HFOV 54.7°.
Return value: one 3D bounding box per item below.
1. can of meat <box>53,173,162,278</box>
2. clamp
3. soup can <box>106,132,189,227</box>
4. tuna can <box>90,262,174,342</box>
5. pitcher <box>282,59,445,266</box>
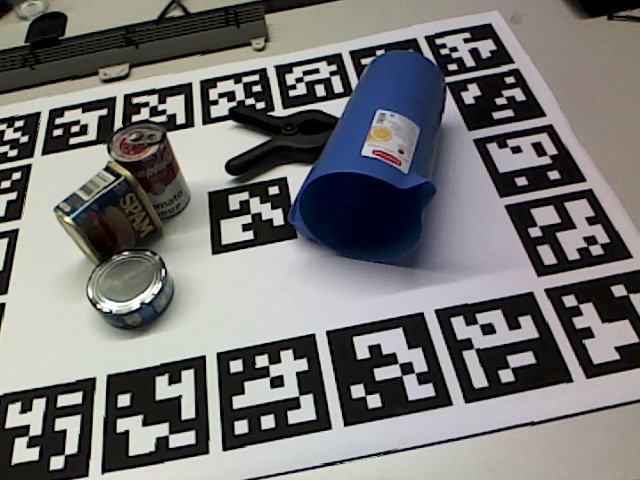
[{"bbox_3d":[-0.243,-0.012,0.710,0.058,0.101,0.083,36,69,28],"label":"can of meat"},{"bbox_3d":[-0.060,-0.123,0.825,0.165,0.036,0.122,-8,48,-2],"label":"clamp"},{"bbox_3d":[-0.208,-0.072,0.756,0.068,0.101,0.068,-5,54,7],"label":"soup can"},{"bbox_3d":[-0.207,0.069,0.688,0.086,0.033,0.086,-4,54,5],"label":"tuna can"},{"bbox_3d":[0.062,-0.097,0.709,0.190,0.132,0.243,-10,41,29],"label":"pitcher"}]
